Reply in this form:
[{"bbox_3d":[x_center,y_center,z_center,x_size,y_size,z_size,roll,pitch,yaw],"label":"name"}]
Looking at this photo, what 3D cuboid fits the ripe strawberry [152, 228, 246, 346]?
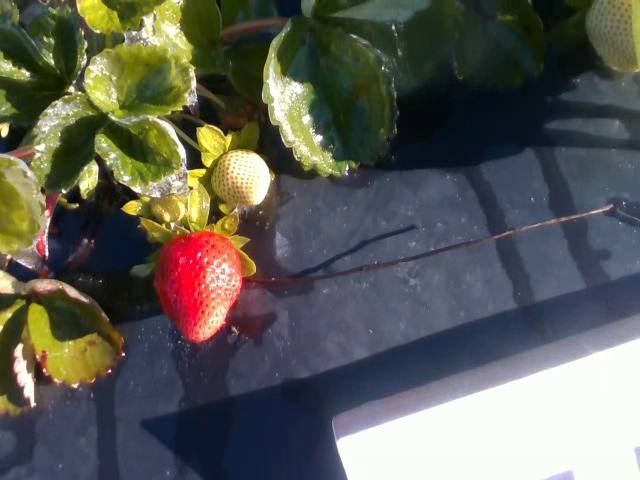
[{"bbox_3d":[-0.036,0.018,0.191,0.039,0.040,0.039,-26,37,12],"label":"ripe strawberry"}]
